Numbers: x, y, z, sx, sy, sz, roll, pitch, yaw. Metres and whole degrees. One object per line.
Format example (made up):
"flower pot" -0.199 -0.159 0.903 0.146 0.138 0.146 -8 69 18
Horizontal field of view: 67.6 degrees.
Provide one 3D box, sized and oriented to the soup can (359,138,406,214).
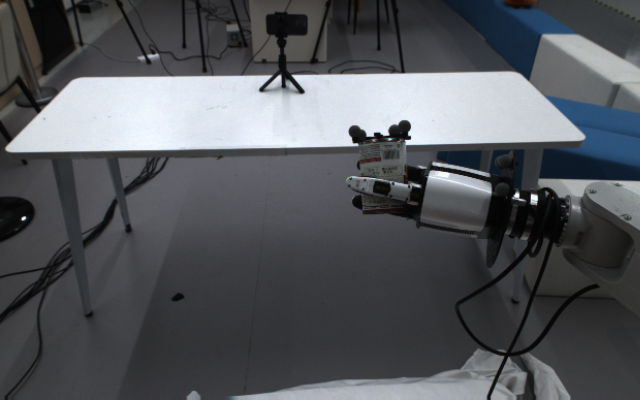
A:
"soup can" 0.091 -0.032 0.680 0.067 0.101 0.067 -3 -1 0
